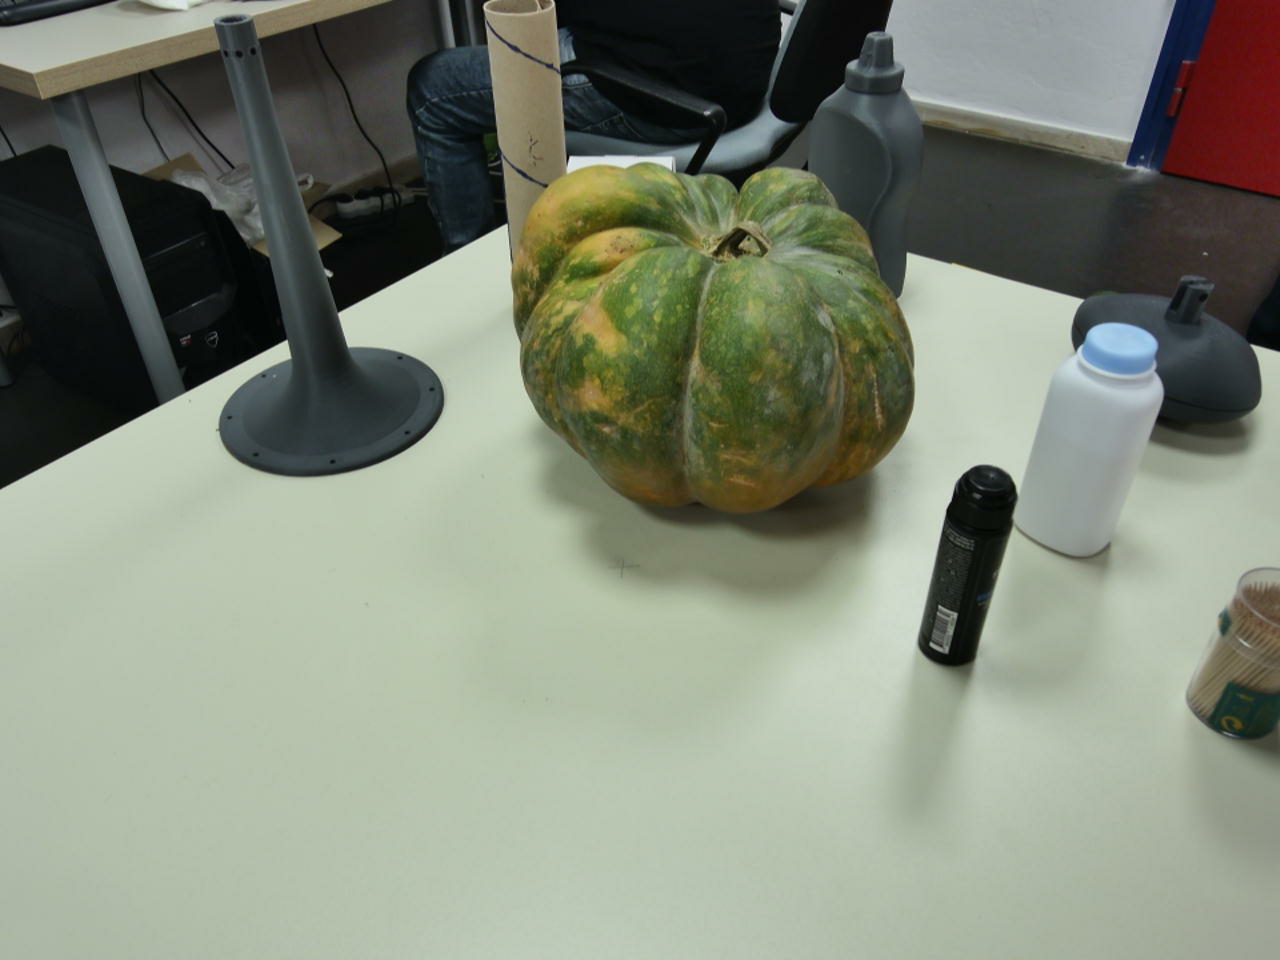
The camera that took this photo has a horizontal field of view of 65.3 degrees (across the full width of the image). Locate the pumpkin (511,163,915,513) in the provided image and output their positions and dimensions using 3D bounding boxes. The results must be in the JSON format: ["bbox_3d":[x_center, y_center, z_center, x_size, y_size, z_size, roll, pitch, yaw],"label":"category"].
[{"bbox_3d":[0.045,-0.093,0.603,0.237,0.173,0.270,-10,39,-12],"label":"pumpkin"}]
